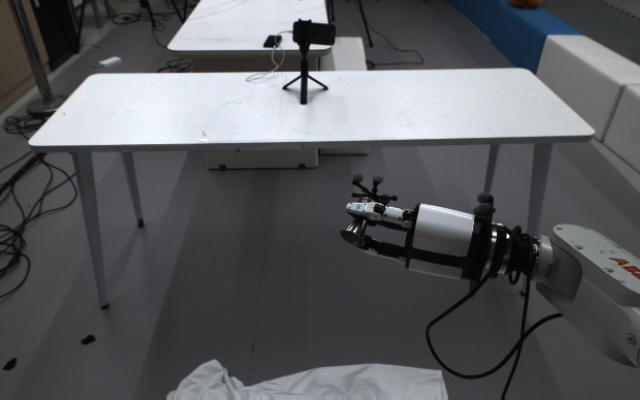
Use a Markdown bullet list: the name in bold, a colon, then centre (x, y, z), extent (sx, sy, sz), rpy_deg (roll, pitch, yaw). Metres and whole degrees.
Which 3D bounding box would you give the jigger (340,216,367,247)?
- **jigger**: centre (0.064, 0.029, 0.769), extent (0.043, 0.043, 0.071), rpy_deg (19, 61, 23)
